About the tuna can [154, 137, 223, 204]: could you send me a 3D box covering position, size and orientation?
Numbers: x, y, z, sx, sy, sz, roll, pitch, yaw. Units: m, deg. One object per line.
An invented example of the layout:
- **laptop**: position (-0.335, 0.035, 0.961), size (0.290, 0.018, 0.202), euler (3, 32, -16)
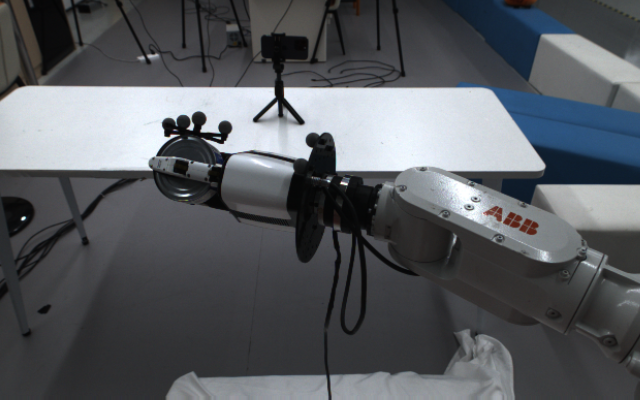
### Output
- **tuna can**: position (-0.166, -0.038, 0.620), size (0.085, 0.085, 0.034), euler (12, -6, 13)
